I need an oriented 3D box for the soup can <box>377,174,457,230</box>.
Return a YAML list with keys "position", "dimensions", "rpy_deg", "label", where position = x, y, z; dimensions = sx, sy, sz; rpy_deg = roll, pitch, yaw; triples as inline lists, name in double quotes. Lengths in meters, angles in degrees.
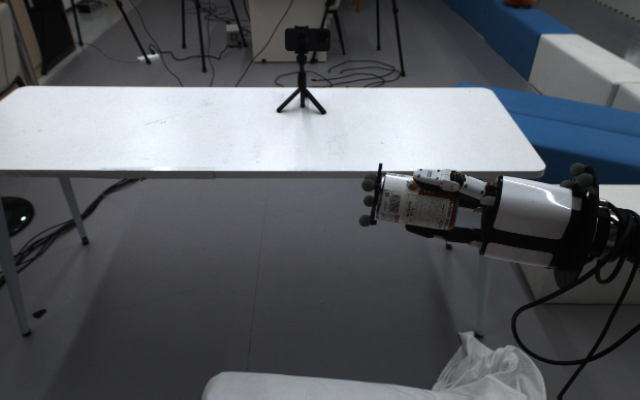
- position: [0.134, 0.001, 0.656]
  dimensions: [0.101, 0.067, 0.067]
  rpy_deg: [9, 35, 9]
  label: "soup can"
